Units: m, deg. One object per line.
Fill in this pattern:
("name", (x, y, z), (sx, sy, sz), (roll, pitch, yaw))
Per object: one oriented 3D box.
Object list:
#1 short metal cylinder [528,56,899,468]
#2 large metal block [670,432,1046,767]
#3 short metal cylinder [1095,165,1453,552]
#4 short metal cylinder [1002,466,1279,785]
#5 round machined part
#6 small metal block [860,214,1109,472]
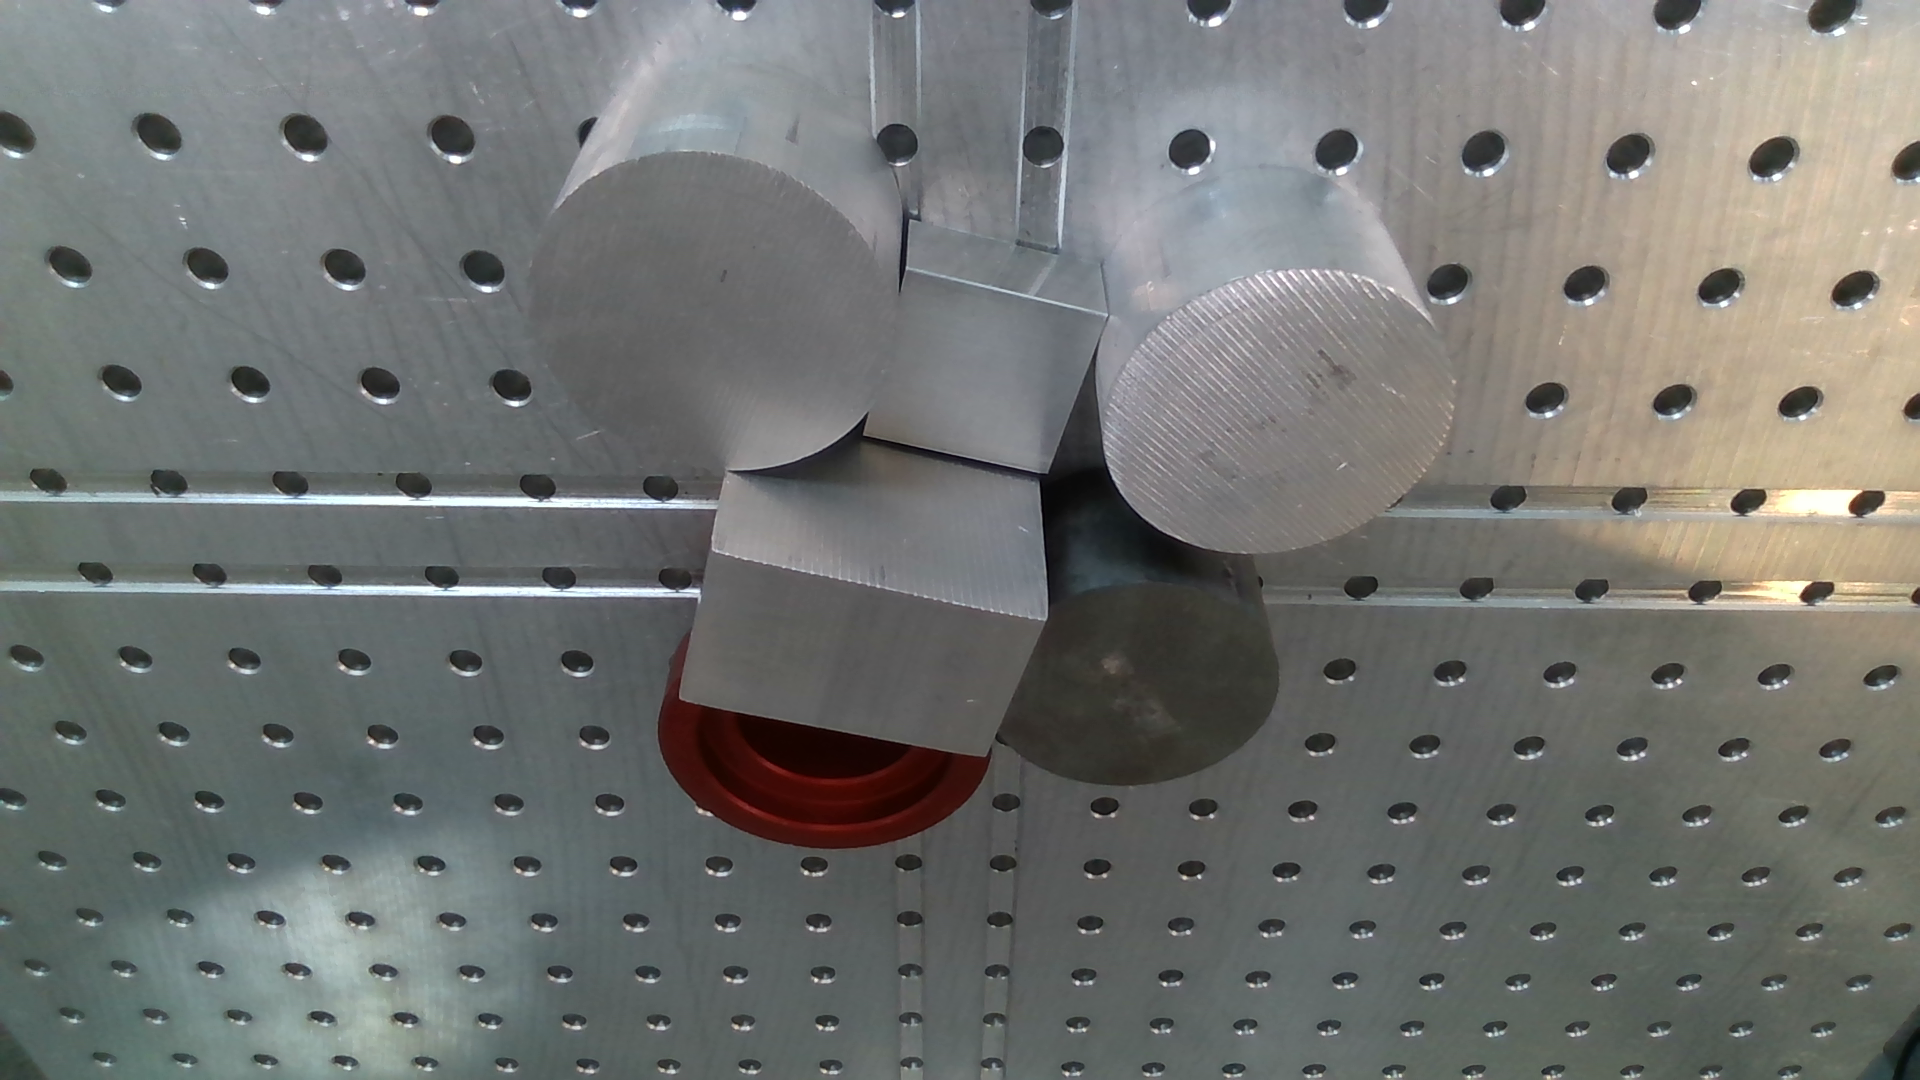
("short metal cylinder", (-0.054, -0.064, 0.321), (0.080, 0.050, 0.080), (0, 130, 0))
("large metal block", (-0.025, 0.005, 0.357), (0.080, 0.080, 0.050), (12, 129, -10))
("short metal cylinder", (0.073, -0.044, 0.338), (0.080, 0.050, 0.080), (0, 130, 0))
("short metal cylinder", (0.047, 0.025, 0.397), (0.080, 0.050, 0.080), (0, 130, 0))
("round machined part", (-0.040, 0.047, 0.420), (0.098, 0.042, 0.098), (0, 130, 0))
("small metal block", (0.005, -0.049, 0.350), (0.050, 0.025, 0.050), (11, 129, -9))
